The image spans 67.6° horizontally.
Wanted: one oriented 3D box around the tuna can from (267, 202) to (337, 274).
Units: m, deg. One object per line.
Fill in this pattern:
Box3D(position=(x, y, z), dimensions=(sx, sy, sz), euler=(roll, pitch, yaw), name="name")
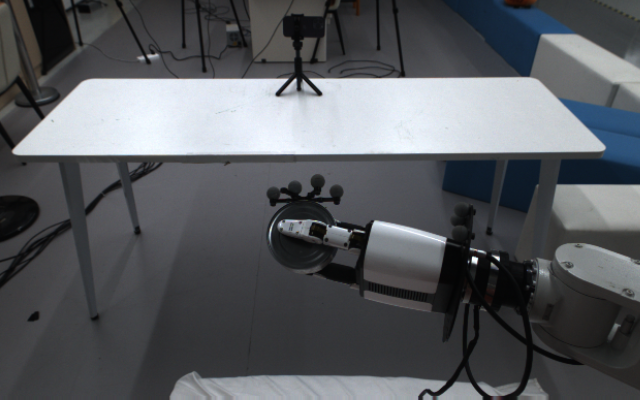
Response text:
Box3D(position=(-0.017, 0.050, 0.583), dimensions=(0.085, 0.034, 0.085), euler=(-2, 69, 6), name="tuna can")
